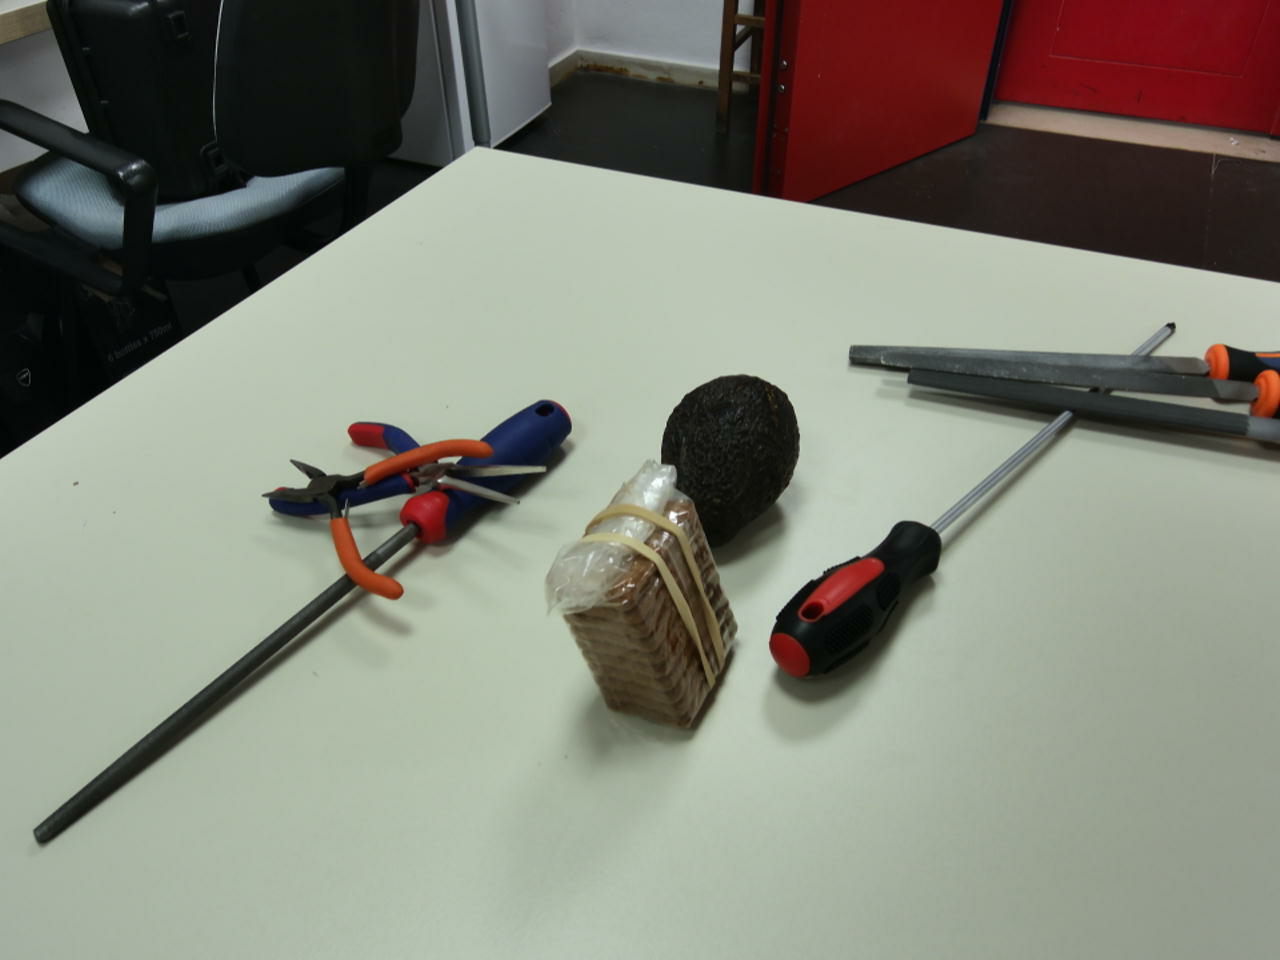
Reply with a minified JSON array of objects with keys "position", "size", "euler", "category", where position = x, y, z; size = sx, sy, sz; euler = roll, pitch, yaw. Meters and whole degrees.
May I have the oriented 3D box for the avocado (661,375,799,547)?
[{"position":[0.042,-0.015,0.511],"size":[0.090,0.069,0.070],"euler":[-26,45,-30],"category":"avocado"}]
